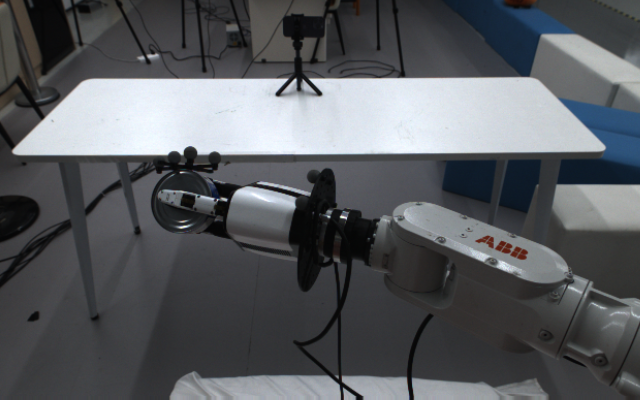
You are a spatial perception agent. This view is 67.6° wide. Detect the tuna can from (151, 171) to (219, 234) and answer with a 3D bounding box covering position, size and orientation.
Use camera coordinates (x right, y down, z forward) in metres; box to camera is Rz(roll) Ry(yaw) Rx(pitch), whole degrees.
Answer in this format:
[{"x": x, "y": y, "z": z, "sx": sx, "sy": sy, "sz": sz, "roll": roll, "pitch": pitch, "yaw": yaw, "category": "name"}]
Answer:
[{"x": -0.175, "y": 0.005, "z": 0.653, "sx": 0.085, "sy": 0.085, "sz": 0.034, "roll": 9, "pitch": -6, "yaw": 10, "category": "tuna can"}]
